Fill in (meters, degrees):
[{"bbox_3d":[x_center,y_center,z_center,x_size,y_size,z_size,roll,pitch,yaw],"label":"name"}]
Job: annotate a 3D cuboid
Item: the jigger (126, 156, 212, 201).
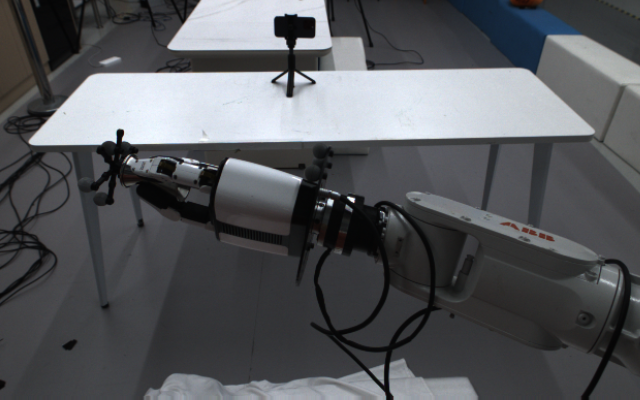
[{"bbox_3d":[-0.182,-0.029,0.552,0.071,0.043,0.043,13,36,4],"label":"jigger"}]
